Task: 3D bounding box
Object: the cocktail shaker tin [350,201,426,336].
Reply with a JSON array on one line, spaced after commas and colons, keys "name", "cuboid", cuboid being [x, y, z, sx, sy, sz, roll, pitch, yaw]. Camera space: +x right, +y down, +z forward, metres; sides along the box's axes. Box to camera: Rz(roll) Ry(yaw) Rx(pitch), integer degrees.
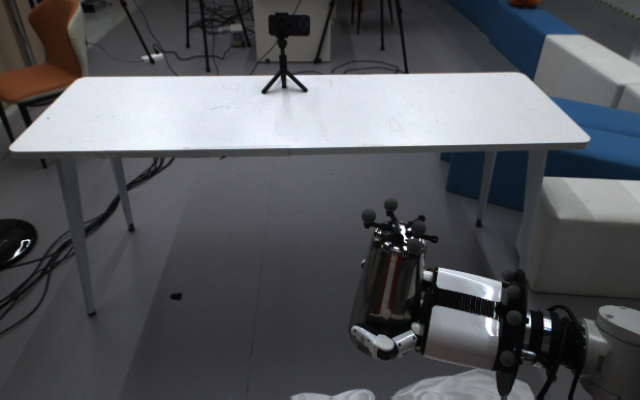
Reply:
[{"name": "cocktail shaker tin", "cuboid": [0.091, 0.113, 0.624, 0.093, 0.170, 0.093, 3, 34, -2]}]
